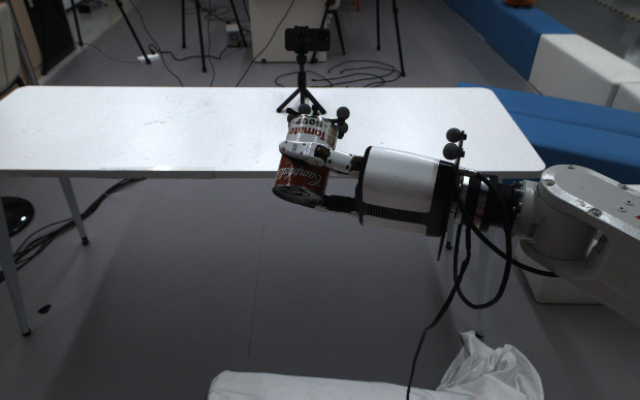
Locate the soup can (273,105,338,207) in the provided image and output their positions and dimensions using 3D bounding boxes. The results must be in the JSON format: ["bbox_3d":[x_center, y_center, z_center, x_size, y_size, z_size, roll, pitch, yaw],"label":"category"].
[{"bbox_3d":[-0.017,-0.052,0.629,0.067,0.067,0.101,9,72,10],"label":"soup can"}]
